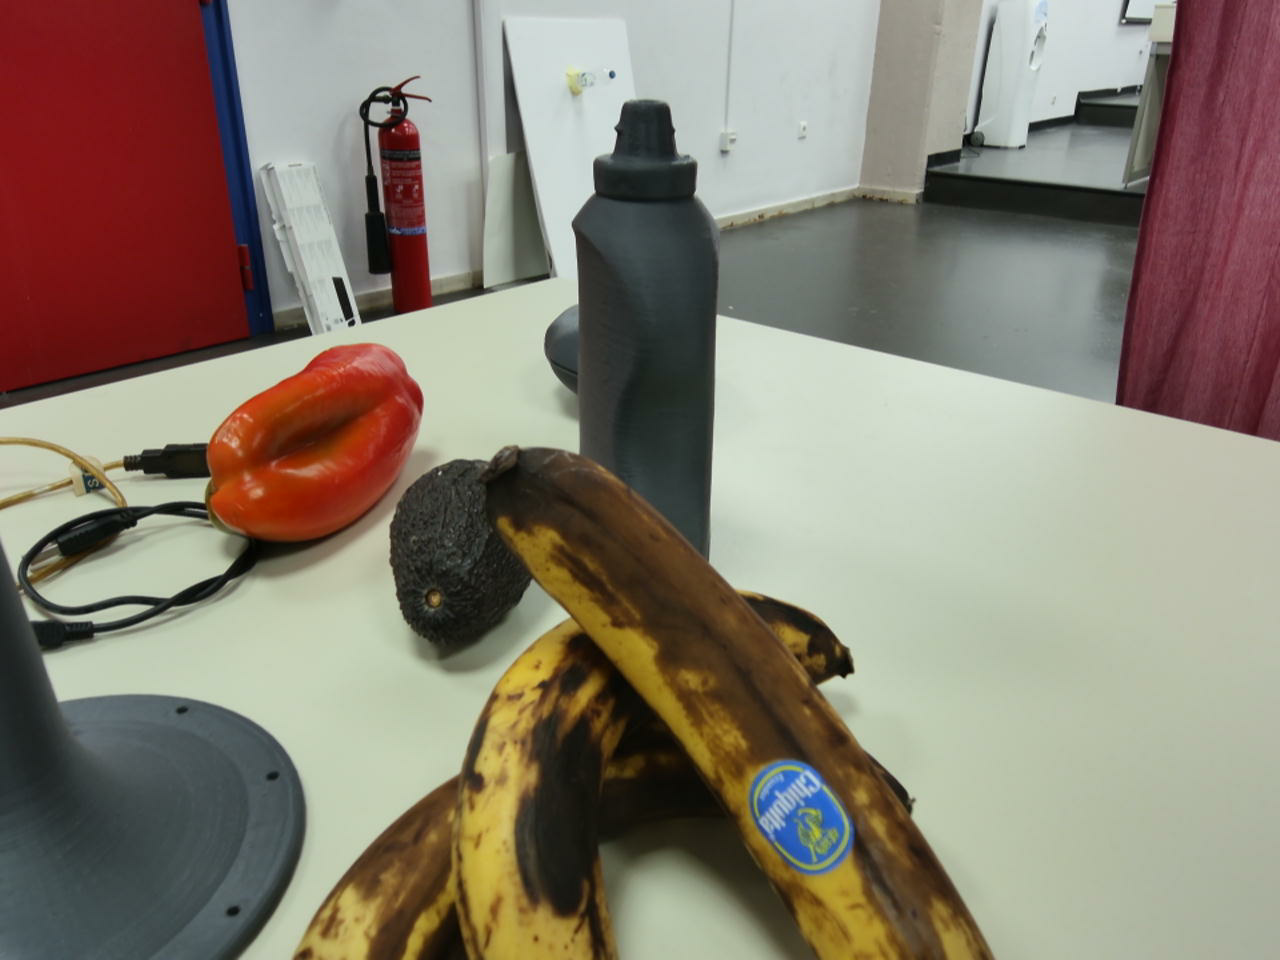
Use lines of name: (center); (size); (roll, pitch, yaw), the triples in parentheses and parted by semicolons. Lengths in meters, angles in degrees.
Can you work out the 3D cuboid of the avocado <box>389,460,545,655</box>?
avocado: (-0.072, 0.026, 0.402); (0.062, 0.062, 0.092); (6, 24, 14)
